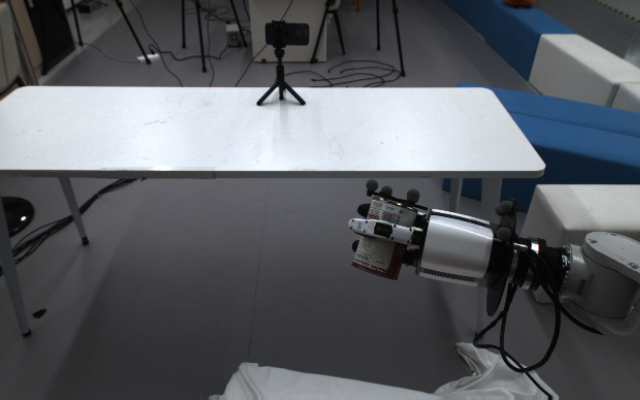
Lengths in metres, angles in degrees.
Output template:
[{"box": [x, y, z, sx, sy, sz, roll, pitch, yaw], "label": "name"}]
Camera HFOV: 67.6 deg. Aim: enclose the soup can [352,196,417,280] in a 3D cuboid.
[{"box": [0.092, 0.053, 0.678, 0.067, 0.101, 0.067, 17, -1, 0], "label": "soup can"}]
